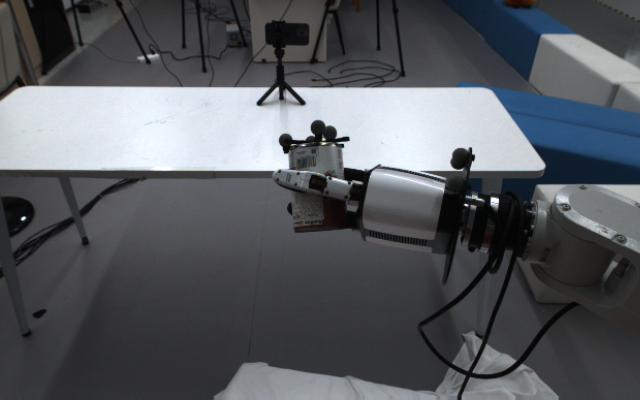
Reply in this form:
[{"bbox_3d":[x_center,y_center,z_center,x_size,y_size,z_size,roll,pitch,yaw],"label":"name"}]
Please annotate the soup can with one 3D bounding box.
[{"bbox_3d":[0.000,-0.013,0.586,0.067,0.101,0.067,-5,-5,0],"label":"soup can"}]
